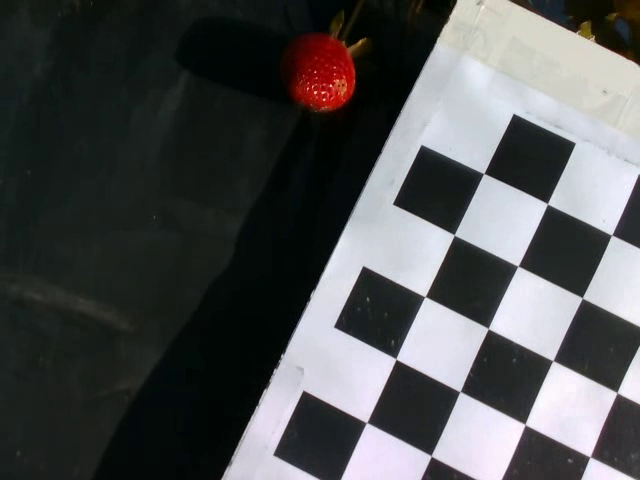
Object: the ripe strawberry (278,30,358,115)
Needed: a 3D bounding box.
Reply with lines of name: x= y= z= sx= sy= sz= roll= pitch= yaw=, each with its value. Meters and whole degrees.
ripe strawberry: x=-0.002 y=-0.050 z=0.161 sx=0.034 sy=0.033 sz=0.038 roll=25 pitch=34 yaw=2
